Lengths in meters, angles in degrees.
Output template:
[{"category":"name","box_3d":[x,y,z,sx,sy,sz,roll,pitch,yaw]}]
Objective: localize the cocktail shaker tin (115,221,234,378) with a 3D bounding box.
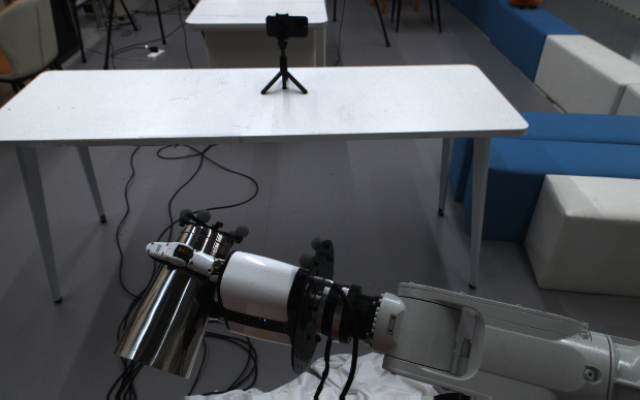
[{"category":"cocktail shaker tin","box_3d":[-0.168,0.119,0.596,0.093,0.093,0.170,12,66,14]}]
